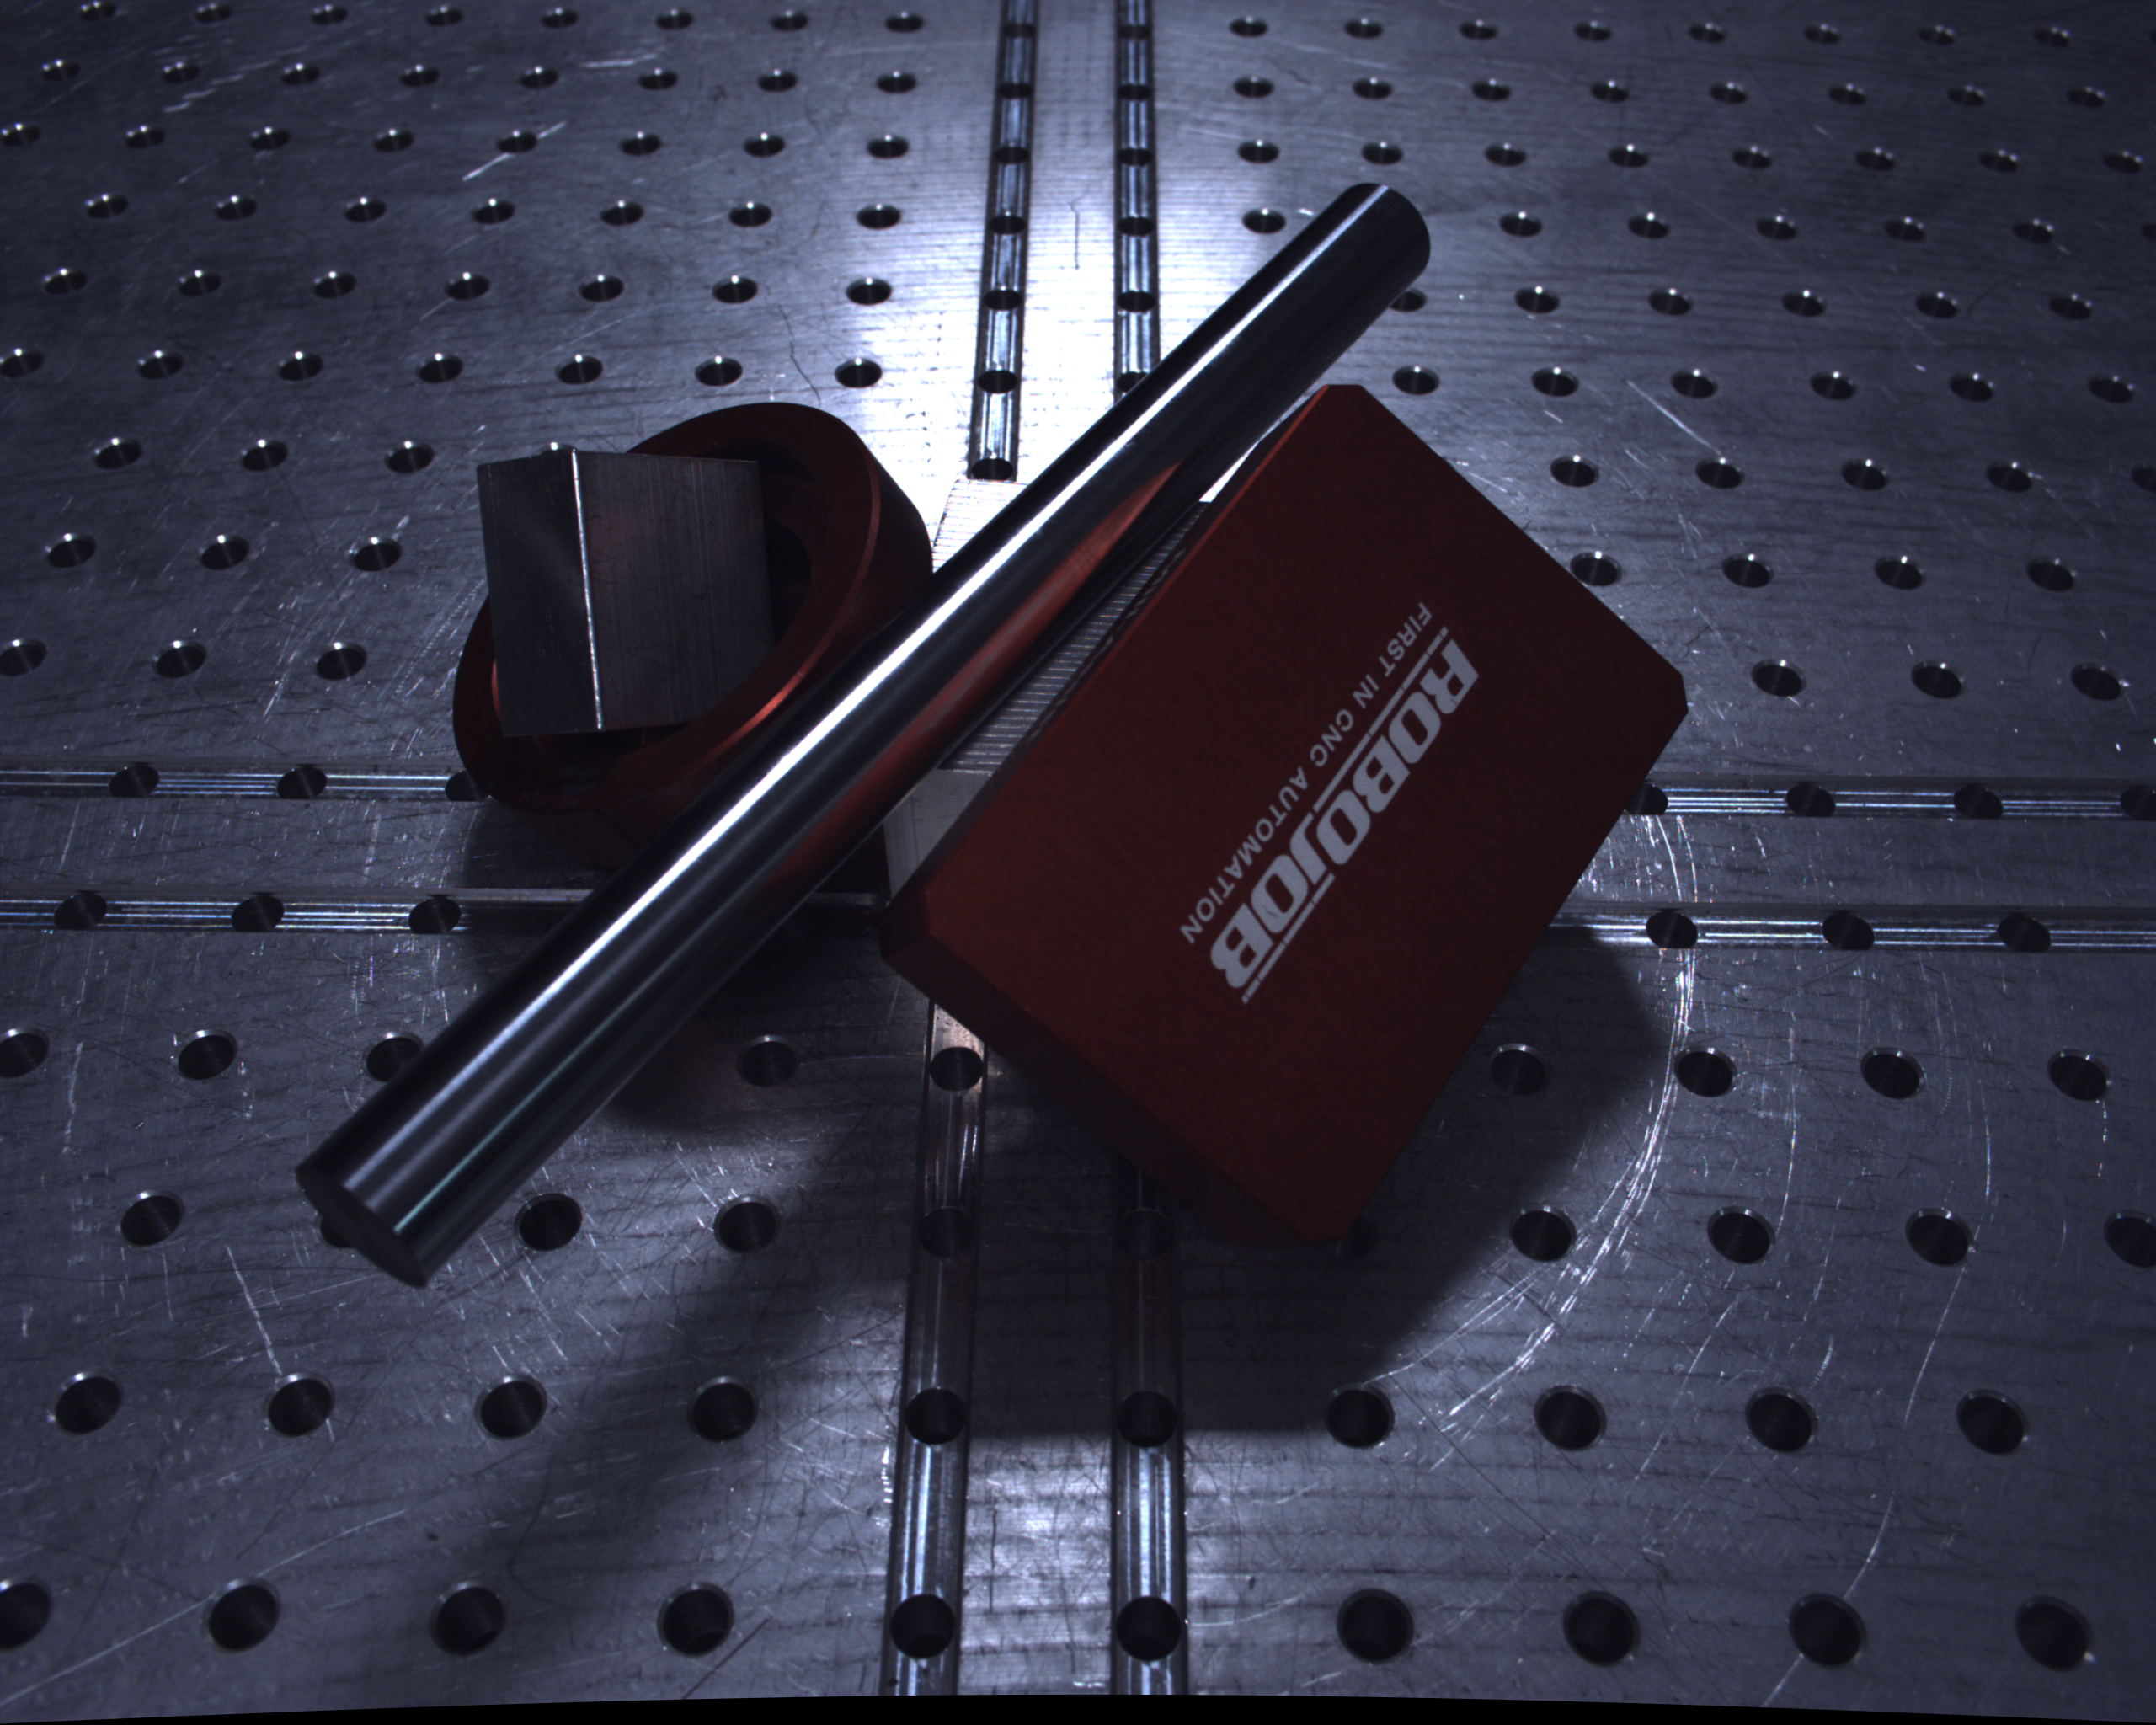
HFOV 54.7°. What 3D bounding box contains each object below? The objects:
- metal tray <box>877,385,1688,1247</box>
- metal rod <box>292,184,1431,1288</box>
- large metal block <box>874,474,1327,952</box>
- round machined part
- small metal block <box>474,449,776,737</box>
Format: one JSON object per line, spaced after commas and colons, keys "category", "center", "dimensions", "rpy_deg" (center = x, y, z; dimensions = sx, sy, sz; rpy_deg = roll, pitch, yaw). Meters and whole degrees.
{"category": "metal tray", "center": [0.039, -0.009, 0.369], "dimensions": [0.090, 0.030, 0.130], "rpy_deg": [40, 70, -8]}
{"category": "metal rod", "center": [-0.018, -0.043, 0.378], "dimensions": [0.025, 0.025, 0.301], "rpy_deg": [28, 55, 21]}
{"category": "large metal block", "center": [0.008, -0.028, 0.415], "dimensions": [0.080, 0.050, 0.080], "rpy_deg": [7, 50, 5]}
{"category": "round machined part", "center": [-0.071, -0.040, 0.412], "dimensions": [0.098, 0.042, 0.098], "rpy_deg": [-15, 50, 20]}
{"category": "small metal block", "center": [-0.084, -0.051, 0.397], "dimensions": [0.025, 0.050, 0.050], "rpy_deg": [-1, 6, 33]}
